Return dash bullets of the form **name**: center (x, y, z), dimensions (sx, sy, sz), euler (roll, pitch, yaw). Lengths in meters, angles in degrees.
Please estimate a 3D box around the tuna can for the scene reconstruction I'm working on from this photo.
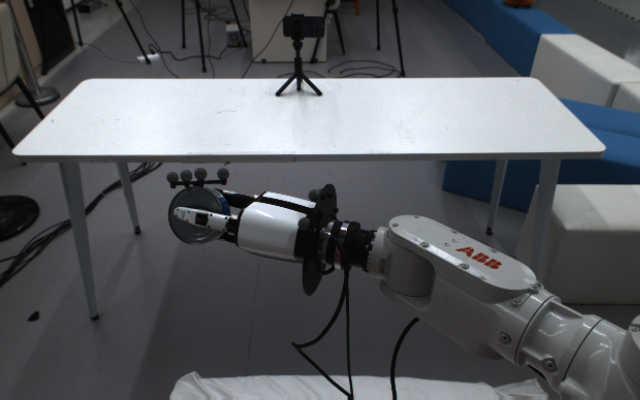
- **tuna can**: center (-0.172, 0.025, 0.714), dimensions (0.085, 0.085, 0.034), euler (10, 2, 11)
